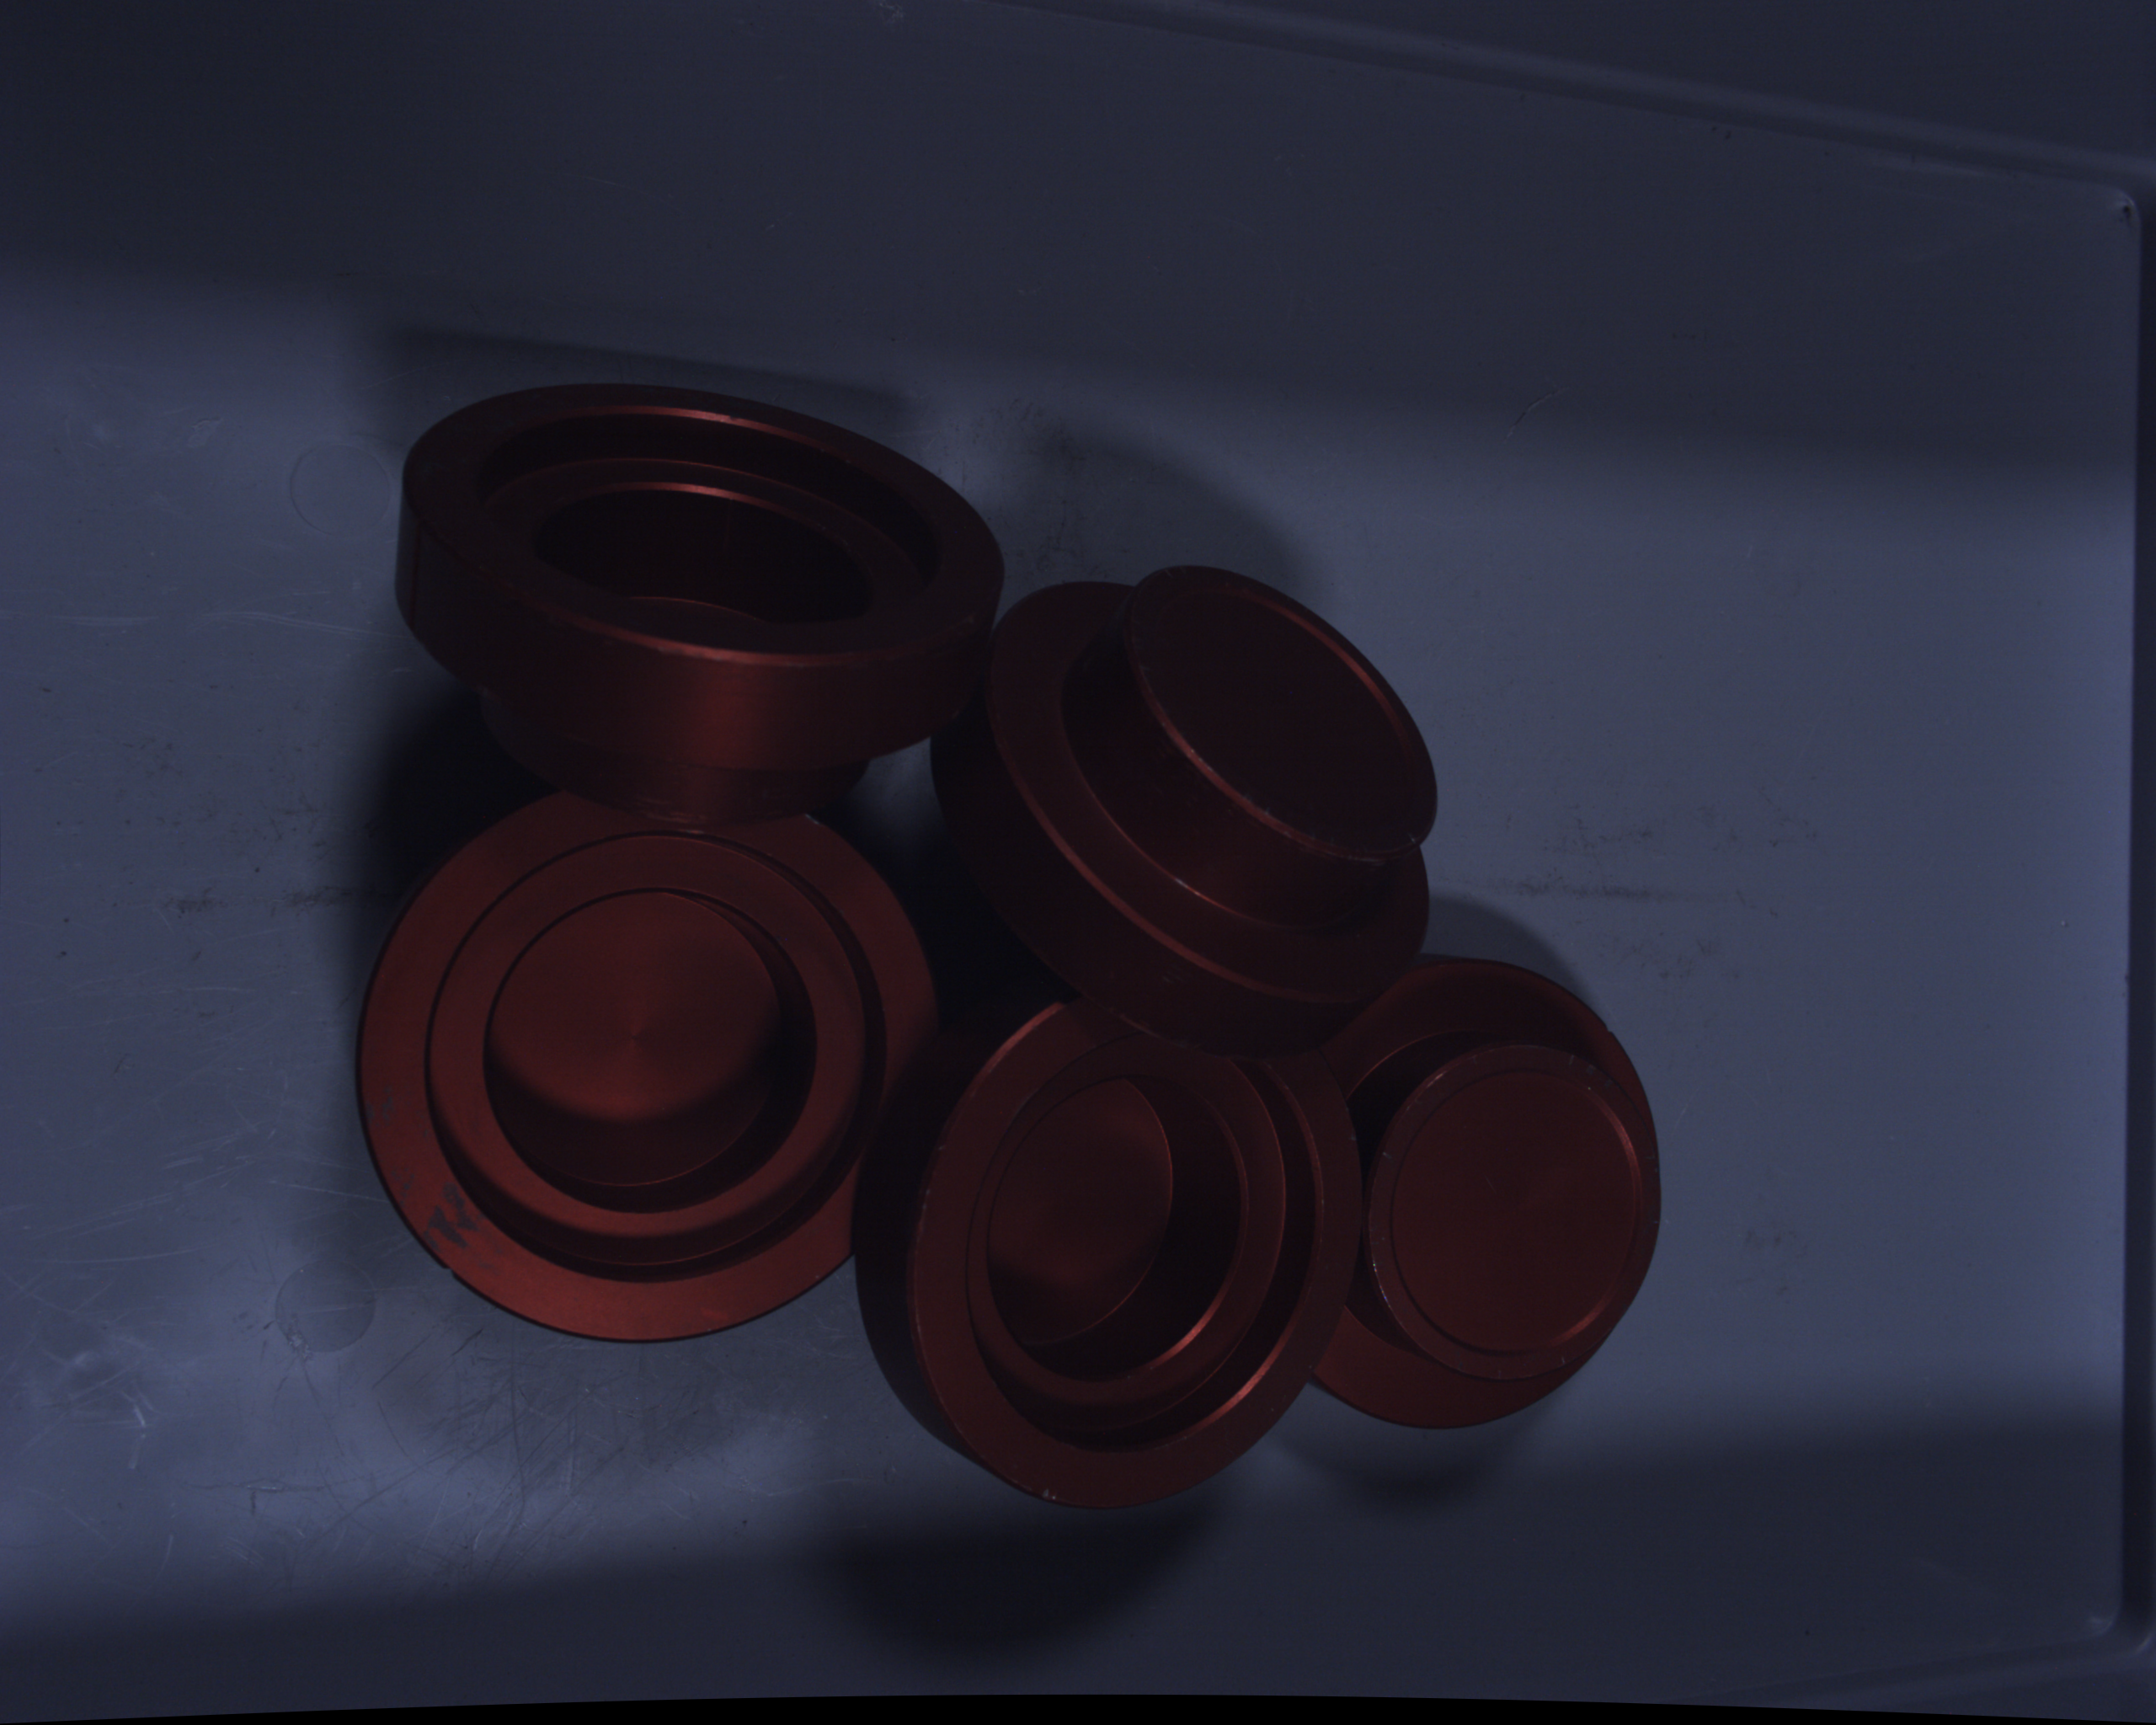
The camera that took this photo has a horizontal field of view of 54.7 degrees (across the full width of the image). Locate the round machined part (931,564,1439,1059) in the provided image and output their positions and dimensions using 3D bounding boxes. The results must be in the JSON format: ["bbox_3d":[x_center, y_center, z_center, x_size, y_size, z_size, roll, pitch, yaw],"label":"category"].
[{"bbox_3d":[0.026,-0.016,0.381,0.099,0.042,0.098,24,40,-22],"label":"round machined part"}]

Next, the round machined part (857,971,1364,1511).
[{"bbox_3d":[0.002,0.066,0.389,0.099,0.042,0.097,-5,99,-33],"label":"round machined part"}]

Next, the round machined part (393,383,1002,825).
[{"bbox_3d":[-0.066,-0.042,0.357,0.099,0.098,0.042,3,125,-20],"label":"round machined part"}]

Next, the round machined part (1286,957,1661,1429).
[{"bbox_3d":[0.079,0.068,0.430,0.099,0.042,0.097,0,90,-21],"label":"round machined part"}]

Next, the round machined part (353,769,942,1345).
[{"bbox_3d":[-0.077,0.033,0.371,0.099,0.042,0.097,0,90,-21],"label":"round machined part"}]
